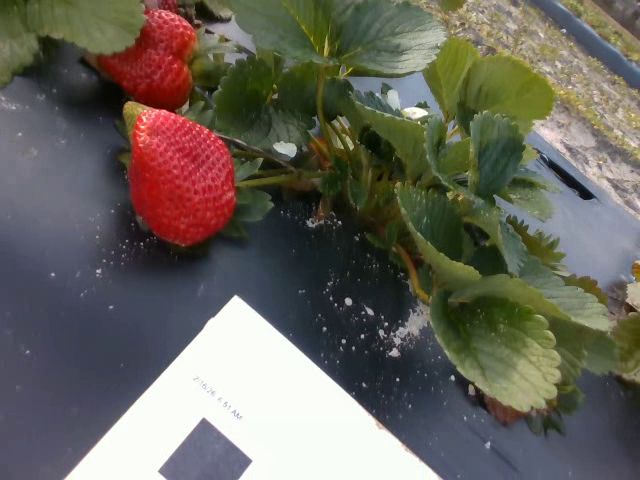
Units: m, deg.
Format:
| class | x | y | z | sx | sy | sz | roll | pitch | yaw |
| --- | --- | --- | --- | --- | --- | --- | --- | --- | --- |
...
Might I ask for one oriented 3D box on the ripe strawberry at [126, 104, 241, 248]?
| class | x | y | z | sx | sy | sz | roll | pitch | yaw |
| --- | --- | --- | --- | --- | --- | --- | --- | --- | --- |
| ripe strawberry | -0.025 | -0.013 | 0.105 | 0.022 | 0.025 | 0.030 | 17 | -15 | 18 |
